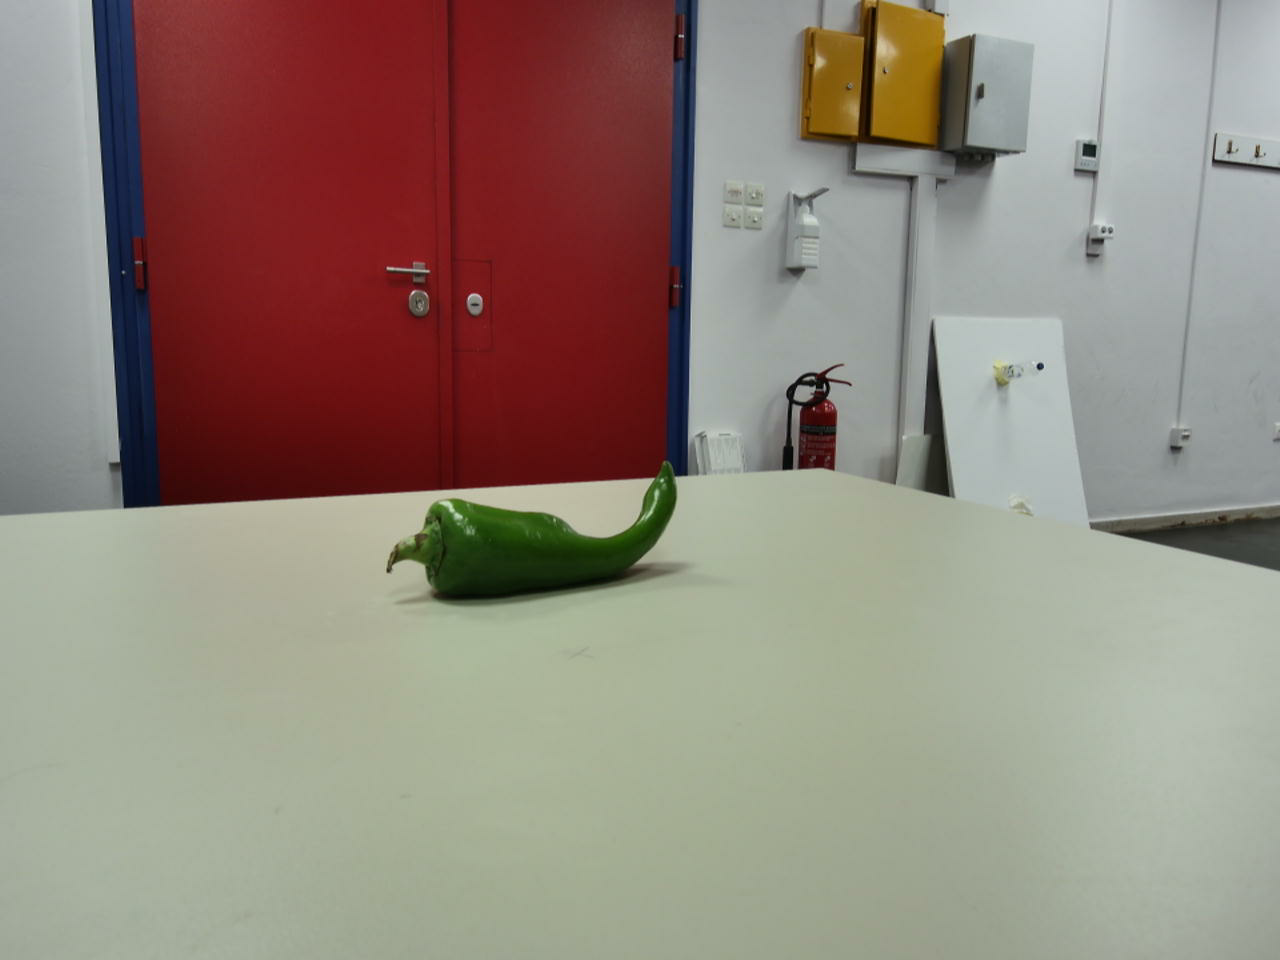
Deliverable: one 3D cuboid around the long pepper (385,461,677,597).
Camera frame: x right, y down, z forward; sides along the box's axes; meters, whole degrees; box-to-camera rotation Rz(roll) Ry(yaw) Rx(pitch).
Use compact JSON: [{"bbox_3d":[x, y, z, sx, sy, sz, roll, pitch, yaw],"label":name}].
[{"bbox_3d":[-0.052,0.027,0.549,0.175,0.065,0.058,-3,7,-27],"label":"long pepper"}]
